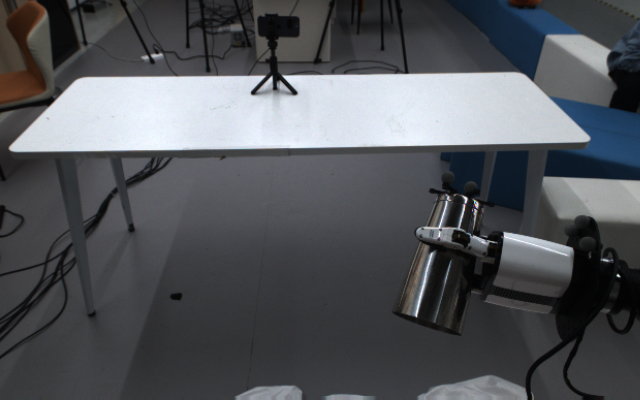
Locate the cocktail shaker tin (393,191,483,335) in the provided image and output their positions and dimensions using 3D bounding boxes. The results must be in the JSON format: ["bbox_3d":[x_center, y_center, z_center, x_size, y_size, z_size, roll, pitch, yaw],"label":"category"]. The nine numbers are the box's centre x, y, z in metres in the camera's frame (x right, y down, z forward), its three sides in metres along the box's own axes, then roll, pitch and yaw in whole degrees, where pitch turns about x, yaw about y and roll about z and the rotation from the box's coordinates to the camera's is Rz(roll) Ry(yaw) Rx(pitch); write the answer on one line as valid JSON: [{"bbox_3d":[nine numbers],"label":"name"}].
[{"bbox_3d":[0.165,0.081,0.640,0.093,0.093,0.170,15,74,18],"label":"cocktail shaker tin"}]
